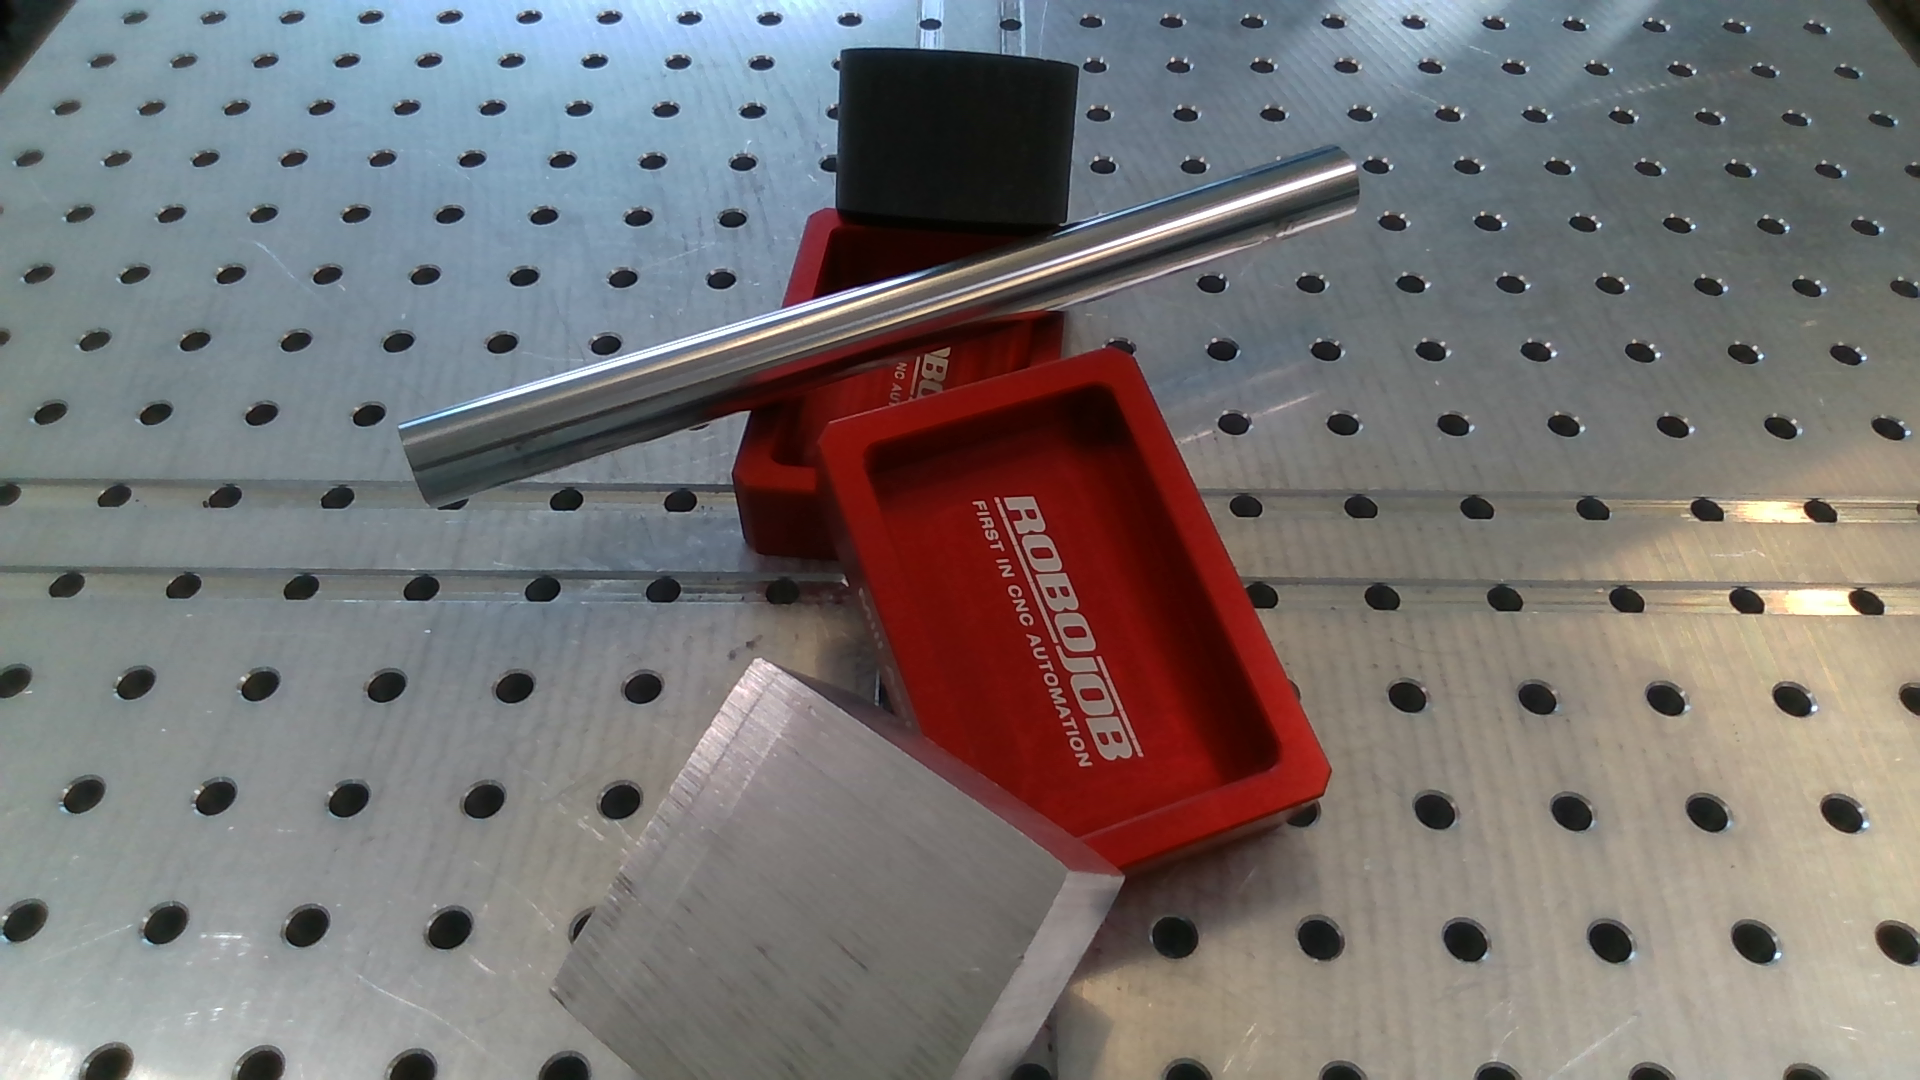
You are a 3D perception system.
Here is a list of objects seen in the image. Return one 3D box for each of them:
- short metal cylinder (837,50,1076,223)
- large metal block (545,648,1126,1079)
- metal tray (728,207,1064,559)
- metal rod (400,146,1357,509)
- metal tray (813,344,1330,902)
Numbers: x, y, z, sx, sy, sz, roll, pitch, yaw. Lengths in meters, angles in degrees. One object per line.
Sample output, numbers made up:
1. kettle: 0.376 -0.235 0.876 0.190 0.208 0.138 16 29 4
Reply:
1. short metal cylinder: -0.002 -0.137 0.472 0.080 0.050 0.080 3 15 -1
2. large metal block: -0.024 0.081 0.290 0.080 0.050 0.080 31 88 23
3. metal tray: -0.014 -0.051 0.436 0.090 0.030 0.130 5 50 4
4. metal rod: -0.012 -0.069 0.415 0.300 0.025 0.025 -20 53 -16
5. metal tray: 0.024 0.020 0.352 0.090 0.030 0.130 -17 69 -13
